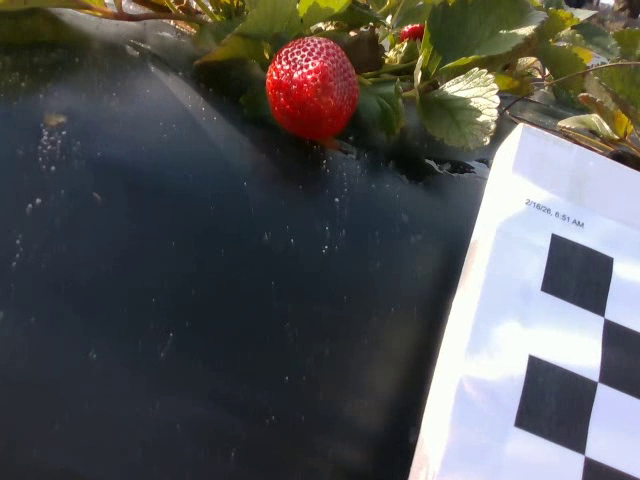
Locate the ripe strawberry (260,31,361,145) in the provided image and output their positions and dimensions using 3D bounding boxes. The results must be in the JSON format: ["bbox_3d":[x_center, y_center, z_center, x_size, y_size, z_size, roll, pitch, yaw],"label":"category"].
[{"bbox_3d":[-0.001,-0.053,0.196,0.041,0.041,0.047,-9,14,-2],"label":"ripe strawberry"}]
